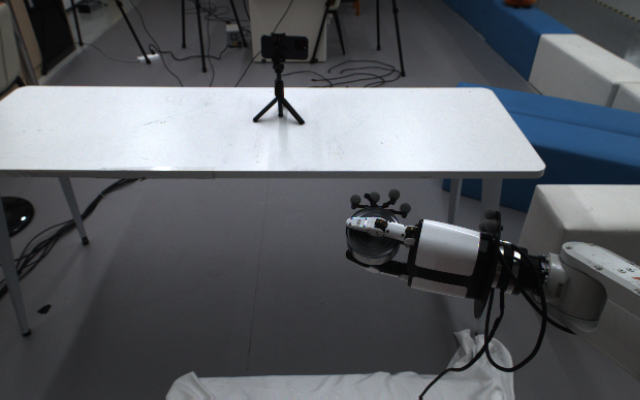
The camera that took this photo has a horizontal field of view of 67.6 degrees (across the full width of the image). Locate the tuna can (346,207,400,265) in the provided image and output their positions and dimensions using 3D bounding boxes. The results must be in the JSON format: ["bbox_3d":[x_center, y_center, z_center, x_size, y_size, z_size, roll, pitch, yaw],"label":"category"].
[{"bbox_3d":[0.082,0.052,0.739,0.085,0.034,0.085,-2,56,3],"label":"tuna can"}]
